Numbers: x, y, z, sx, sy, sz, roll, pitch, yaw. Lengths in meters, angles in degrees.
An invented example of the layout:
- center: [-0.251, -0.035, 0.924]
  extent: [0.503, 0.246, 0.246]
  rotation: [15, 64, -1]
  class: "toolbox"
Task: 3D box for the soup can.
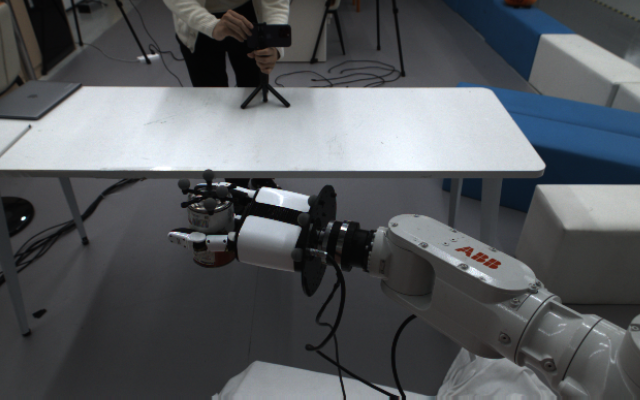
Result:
- center: [-0.159, 0.042, 0.715]
  extent: [0.067, 0.101, 0.067]
  rotation: [2, 32, -1]
  class: "soup can"
